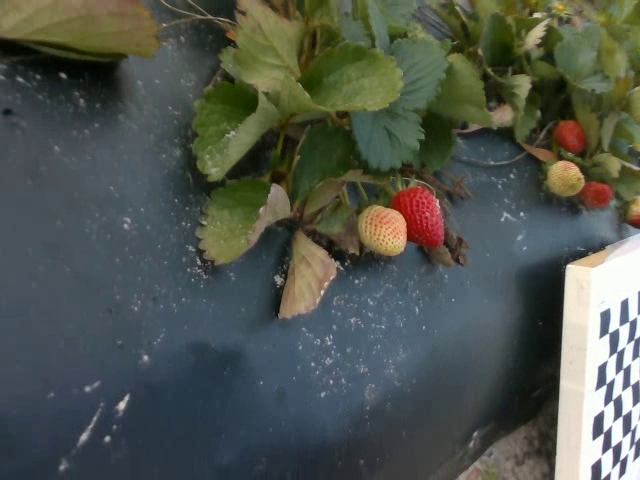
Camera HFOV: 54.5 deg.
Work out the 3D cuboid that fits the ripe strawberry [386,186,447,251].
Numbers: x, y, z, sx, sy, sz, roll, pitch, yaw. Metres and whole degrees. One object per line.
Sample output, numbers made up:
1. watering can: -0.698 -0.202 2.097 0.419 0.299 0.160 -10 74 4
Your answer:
1. ripe strawberry: 0.055 -0.012 0.336 0.034 0.033 0.042 34 10 -43
